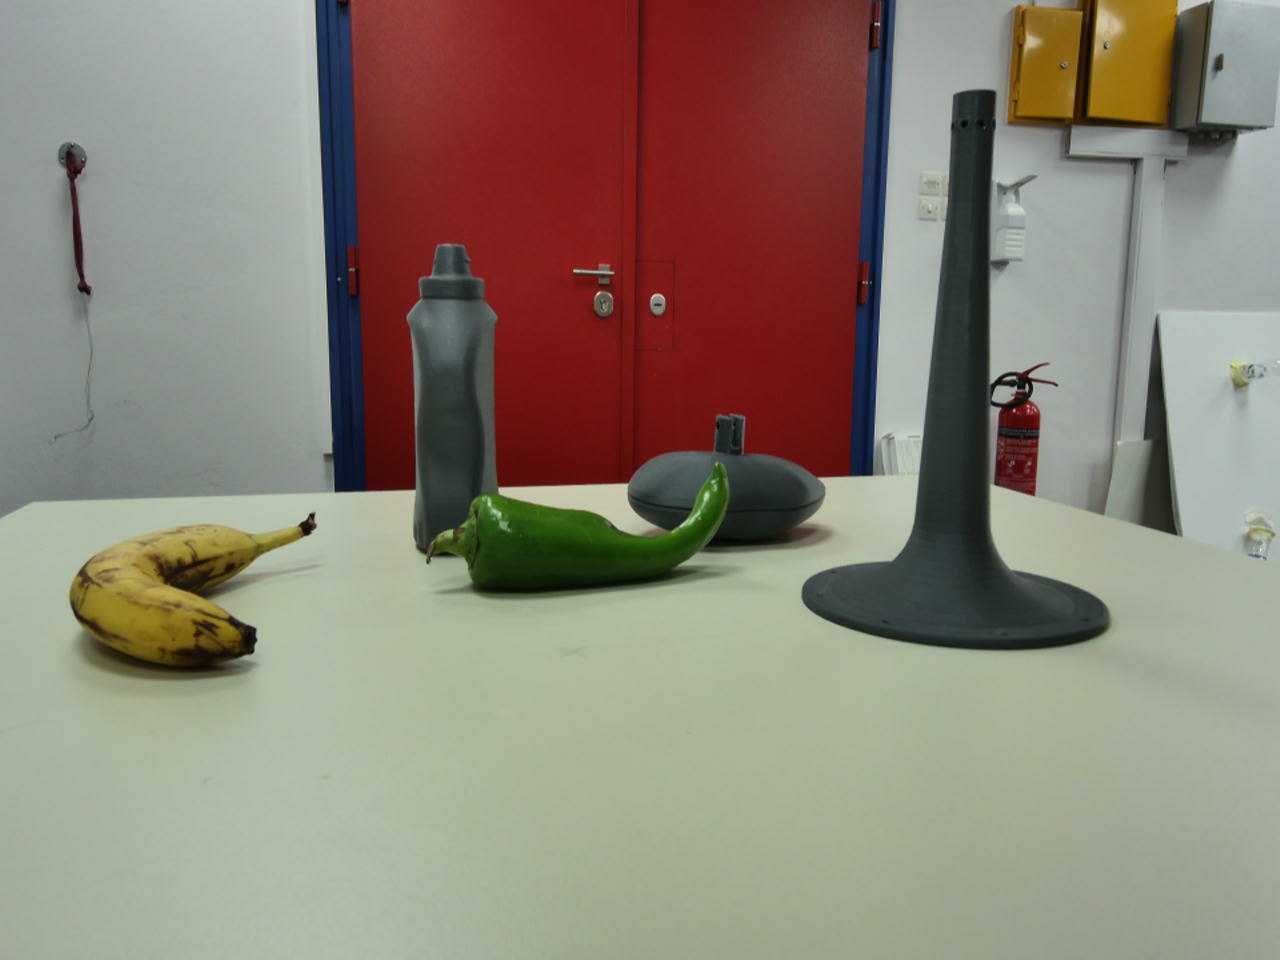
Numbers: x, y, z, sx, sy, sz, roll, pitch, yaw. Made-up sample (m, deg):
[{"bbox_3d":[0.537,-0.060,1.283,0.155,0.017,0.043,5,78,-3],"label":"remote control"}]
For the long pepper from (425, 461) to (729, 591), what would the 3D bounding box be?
[{"bbox_3d":[-0.029,0.025,0.553,0.175,0.065,0.058,-2,7,-15],"label":"long pepper"}]
